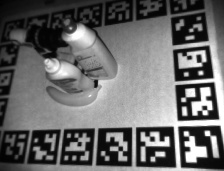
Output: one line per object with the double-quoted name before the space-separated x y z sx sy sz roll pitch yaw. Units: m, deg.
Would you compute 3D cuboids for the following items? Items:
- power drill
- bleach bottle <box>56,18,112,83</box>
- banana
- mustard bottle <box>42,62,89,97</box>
"power drill" -0.186 -0.090 0.616 0.183 0.189 0.057 9 75 19
"bleach bottle" -0.082 -0.086 0.578 0.102 0.253 0.068 -1 67 19
"banana" -0.137 0.036 0.678 0.195 0.039 0.074 1 74 20
"mustard bottle" -0.144 -0.019 0.603 0.095 0.193 0.058 -3 72 17
